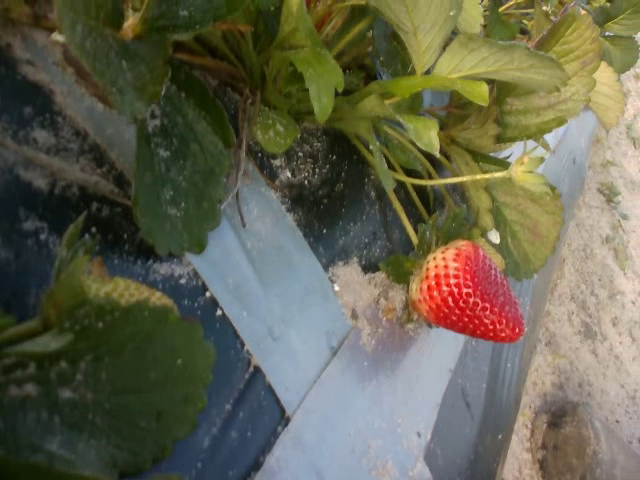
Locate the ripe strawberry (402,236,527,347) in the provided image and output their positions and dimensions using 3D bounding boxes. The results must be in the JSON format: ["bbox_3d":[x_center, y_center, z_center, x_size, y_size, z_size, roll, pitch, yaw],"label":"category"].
[{"bbox_3d":[0.032,0.011,0.124,0.023,0.021,0.026,-22,57,-32],"label":"ripe strawberry"}]
